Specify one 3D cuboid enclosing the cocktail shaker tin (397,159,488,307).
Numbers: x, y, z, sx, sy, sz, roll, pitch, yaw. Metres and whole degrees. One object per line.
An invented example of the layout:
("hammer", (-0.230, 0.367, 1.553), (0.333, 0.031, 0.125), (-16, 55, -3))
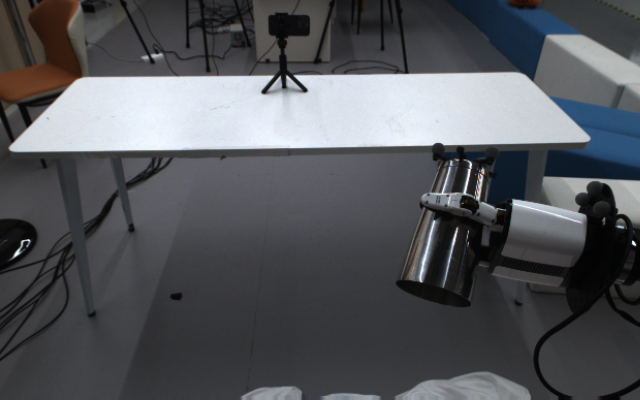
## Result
("cocktail shaker tin", (0.161, 0.036, 0.607), (0.093, 0.093, 0.170), (14, 69, 17))
